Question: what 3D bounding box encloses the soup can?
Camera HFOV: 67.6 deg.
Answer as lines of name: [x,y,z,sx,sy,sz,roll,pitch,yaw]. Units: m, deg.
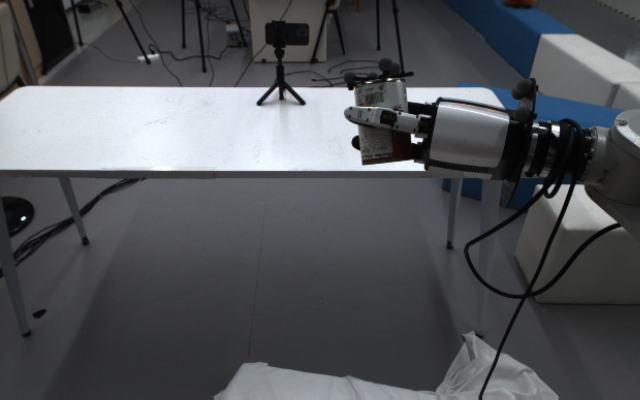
soup can: [0.083,-0.099,0.625,0.067,0.101,0.067,-7,3,0]
